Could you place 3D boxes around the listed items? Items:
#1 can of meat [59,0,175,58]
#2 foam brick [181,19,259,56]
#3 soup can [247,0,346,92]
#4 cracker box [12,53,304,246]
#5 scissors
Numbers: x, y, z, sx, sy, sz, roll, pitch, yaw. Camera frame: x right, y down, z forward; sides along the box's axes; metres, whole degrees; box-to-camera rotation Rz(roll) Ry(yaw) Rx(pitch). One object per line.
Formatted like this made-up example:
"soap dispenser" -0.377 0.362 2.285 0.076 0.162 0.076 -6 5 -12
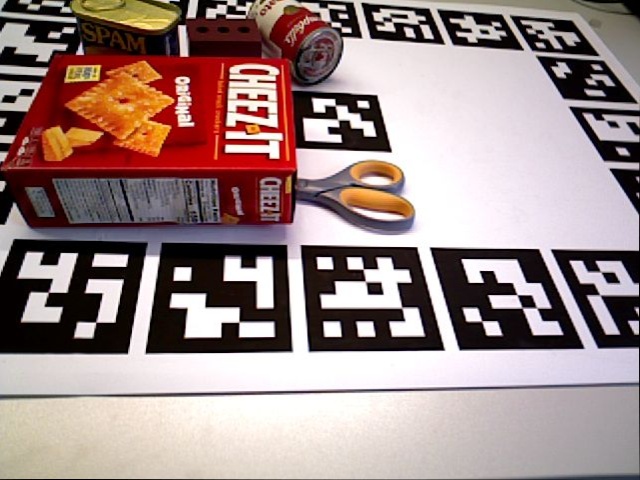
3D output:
"can of meat" -0.196 -0.191 0.542 0.101 0.086 0.056 12 51 0
"foam brick" -0.108 -0.202 0.590 0.077 0.052 0.052 -8 53 -15
"soup can" -0.030 -0.222 0.617 0.066 0.069 0.102 -33 57 -30
"cracker box" -0.130 -0.086 0.459 0.212 0.073 0.162 -6 51 -8
"scissors" -0.018 -0.038 0.478 0.201 0.016 0.086 -3 52 -11
